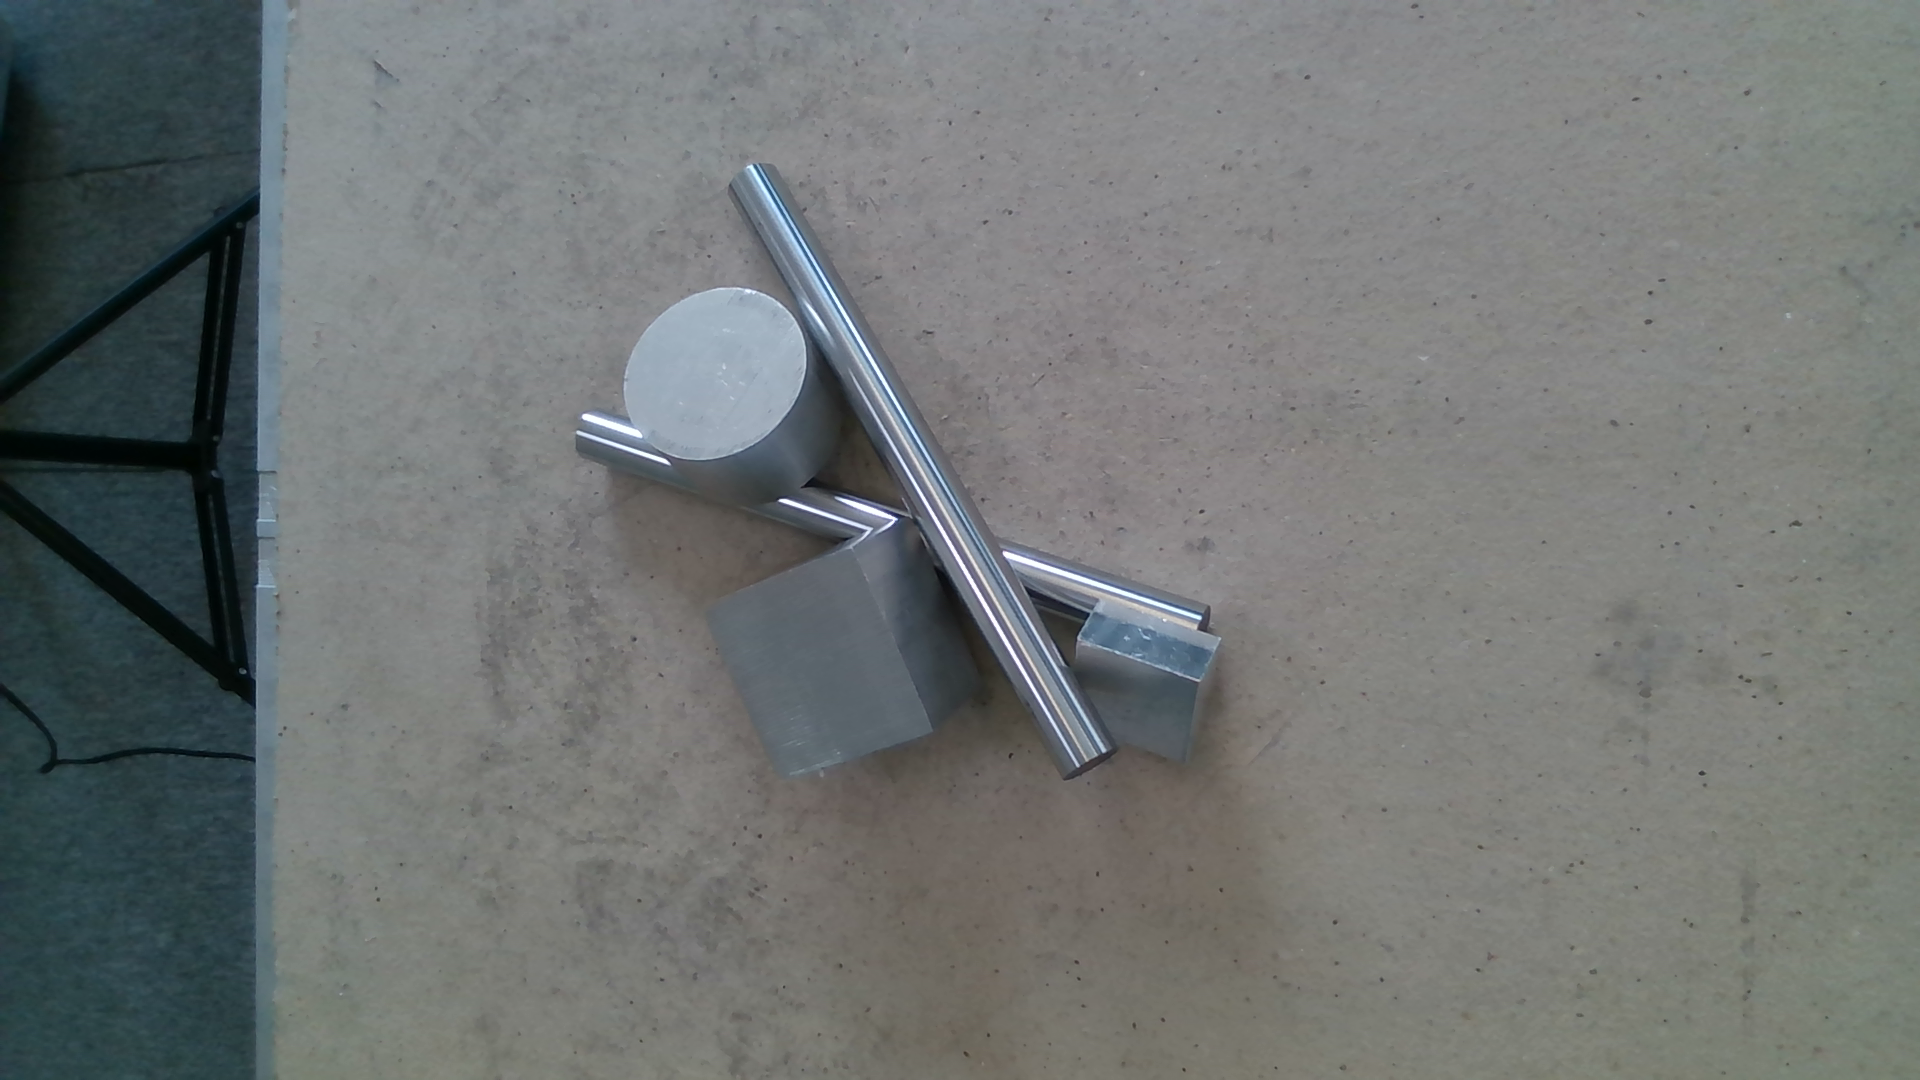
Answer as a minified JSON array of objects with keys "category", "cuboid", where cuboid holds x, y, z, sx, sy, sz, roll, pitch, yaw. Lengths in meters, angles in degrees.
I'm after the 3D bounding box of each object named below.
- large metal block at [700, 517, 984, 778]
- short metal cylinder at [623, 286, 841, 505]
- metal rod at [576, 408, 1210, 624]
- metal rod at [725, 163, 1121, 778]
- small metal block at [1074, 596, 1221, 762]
[{"category":"large metal block","cuboid":[-0.049,0.044,0.576,0.080,0.050,0.080,-21,96,28]},{"category":"short metal cylinder","cuboid":[-0.097,-0.062,0.595,0.080,0.050,0.080,-4,69,12]},{"category":"metal rod","cuboid":[-0.038,-0.006,0.600,0.300,0.025,0.025,18,97,19]},{"category":"metal rod","cuboid":[-0.022,-0.037,0.575,0.025,0.025,0.299,-36,72,17]},{"category":"small metal block","cuboid":[0.073,0.055,0.547,0.050,0.025,0.050,18,136,19]}]
